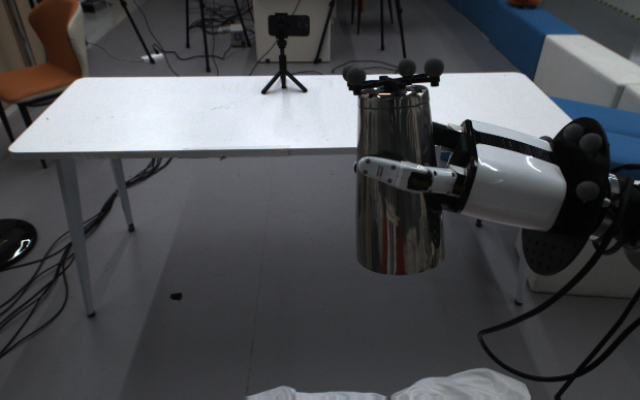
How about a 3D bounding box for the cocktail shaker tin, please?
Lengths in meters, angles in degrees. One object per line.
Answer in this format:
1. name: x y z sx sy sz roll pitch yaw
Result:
1. cocktail shaker tin: 0.078 -0.022 0.481 0.093 0.170 0.093 -6 19 2
